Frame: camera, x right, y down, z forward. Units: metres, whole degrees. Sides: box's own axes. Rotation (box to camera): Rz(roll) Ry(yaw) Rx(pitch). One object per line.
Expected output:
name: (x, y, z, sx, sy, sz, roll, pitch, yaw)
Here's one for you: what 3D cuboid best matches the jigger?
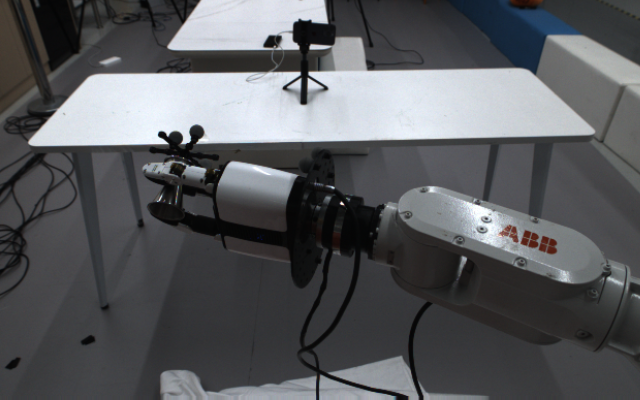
jigger: (-0.181, -0.015, 0.590, 0.043, 0.043, 0.071, 6, 60, 6)
